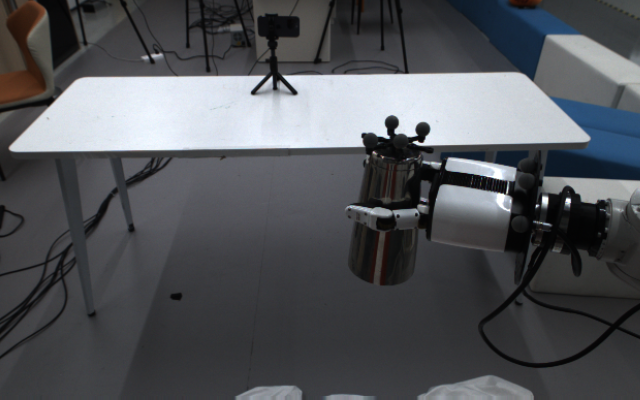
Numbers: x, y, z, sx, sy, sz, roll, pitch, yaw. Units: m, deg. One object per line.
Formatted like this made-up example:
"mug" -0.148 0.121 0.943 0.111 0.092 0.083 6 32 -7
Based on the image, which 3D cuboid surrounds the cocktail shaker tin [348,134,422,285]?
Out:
"cocktail shaker tin" 0.090 0.013 0.619 0.093 0.170 0.093 2 30 -1
